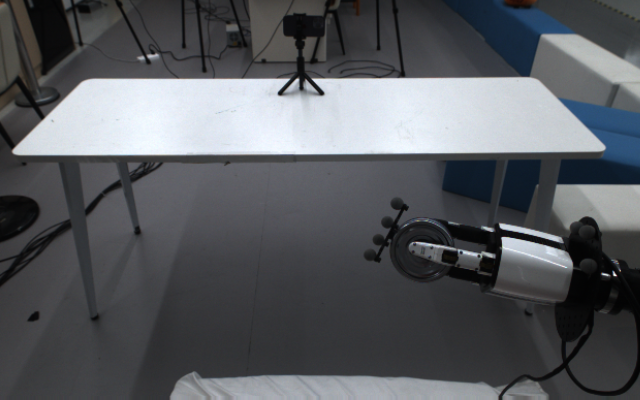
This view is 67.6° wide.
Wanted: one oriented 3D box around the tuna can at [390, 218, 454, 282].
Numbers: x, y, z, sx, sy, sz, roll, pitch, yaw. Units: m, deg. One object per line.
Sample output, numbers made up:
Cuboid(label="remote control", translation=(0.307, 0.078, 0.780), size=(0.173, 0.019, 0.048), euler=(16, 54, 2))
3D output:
Cuboid(label="tuna can", translation=(0.140, 0.064, 0.650), size=(0.085, 0.085, 0.034), euler=(9, 4, 10))
